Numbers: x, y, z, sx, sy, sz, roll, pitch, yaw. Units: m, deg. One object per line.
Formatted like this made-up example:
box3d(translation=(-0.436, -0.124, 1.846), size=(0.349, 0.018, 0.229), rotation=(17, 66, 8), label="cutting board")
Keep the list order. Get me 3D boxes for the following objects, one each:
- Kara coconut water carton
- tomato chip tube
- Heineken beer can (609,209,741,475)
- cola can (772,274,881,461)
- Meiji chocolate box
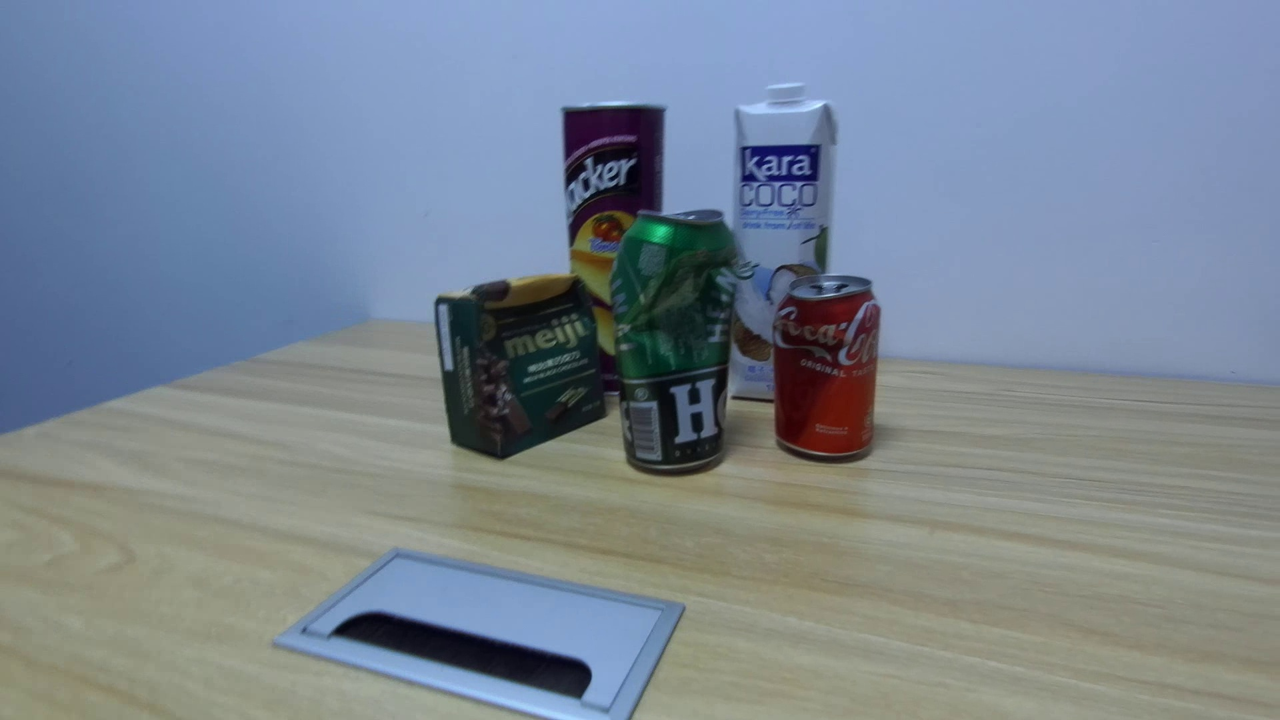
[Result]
box3d(translation=(0.113, -0.090, 0.572), size=(0.077, 0.245, 0.075), rotation=(4, 14, 19), label="Kara coconut water carton")
box3d(translation=(-0.020, -0.093, 0.607), size=(0.080, 0.234, 0.077), rotation=(11, 19, 37), label="tomato chip tube")
box3d(translation=(0.020, -0.011, 0.455), size=(0.077, 0.164, 0.066), rotation=(4, 15, 6), label="Heineken beer can")
box3d(translation=(0.128, 0.004, 0.473), size=(0.066, 0.117, 0.072), rotation=(-8, 18, -25), label="cola can")
box3d(translation=(-0.088, 0.004, 0.527), size=(0.058, 0.110, 0.114), rotation=(1, 11, 43), label="Meiji chocolate box")
